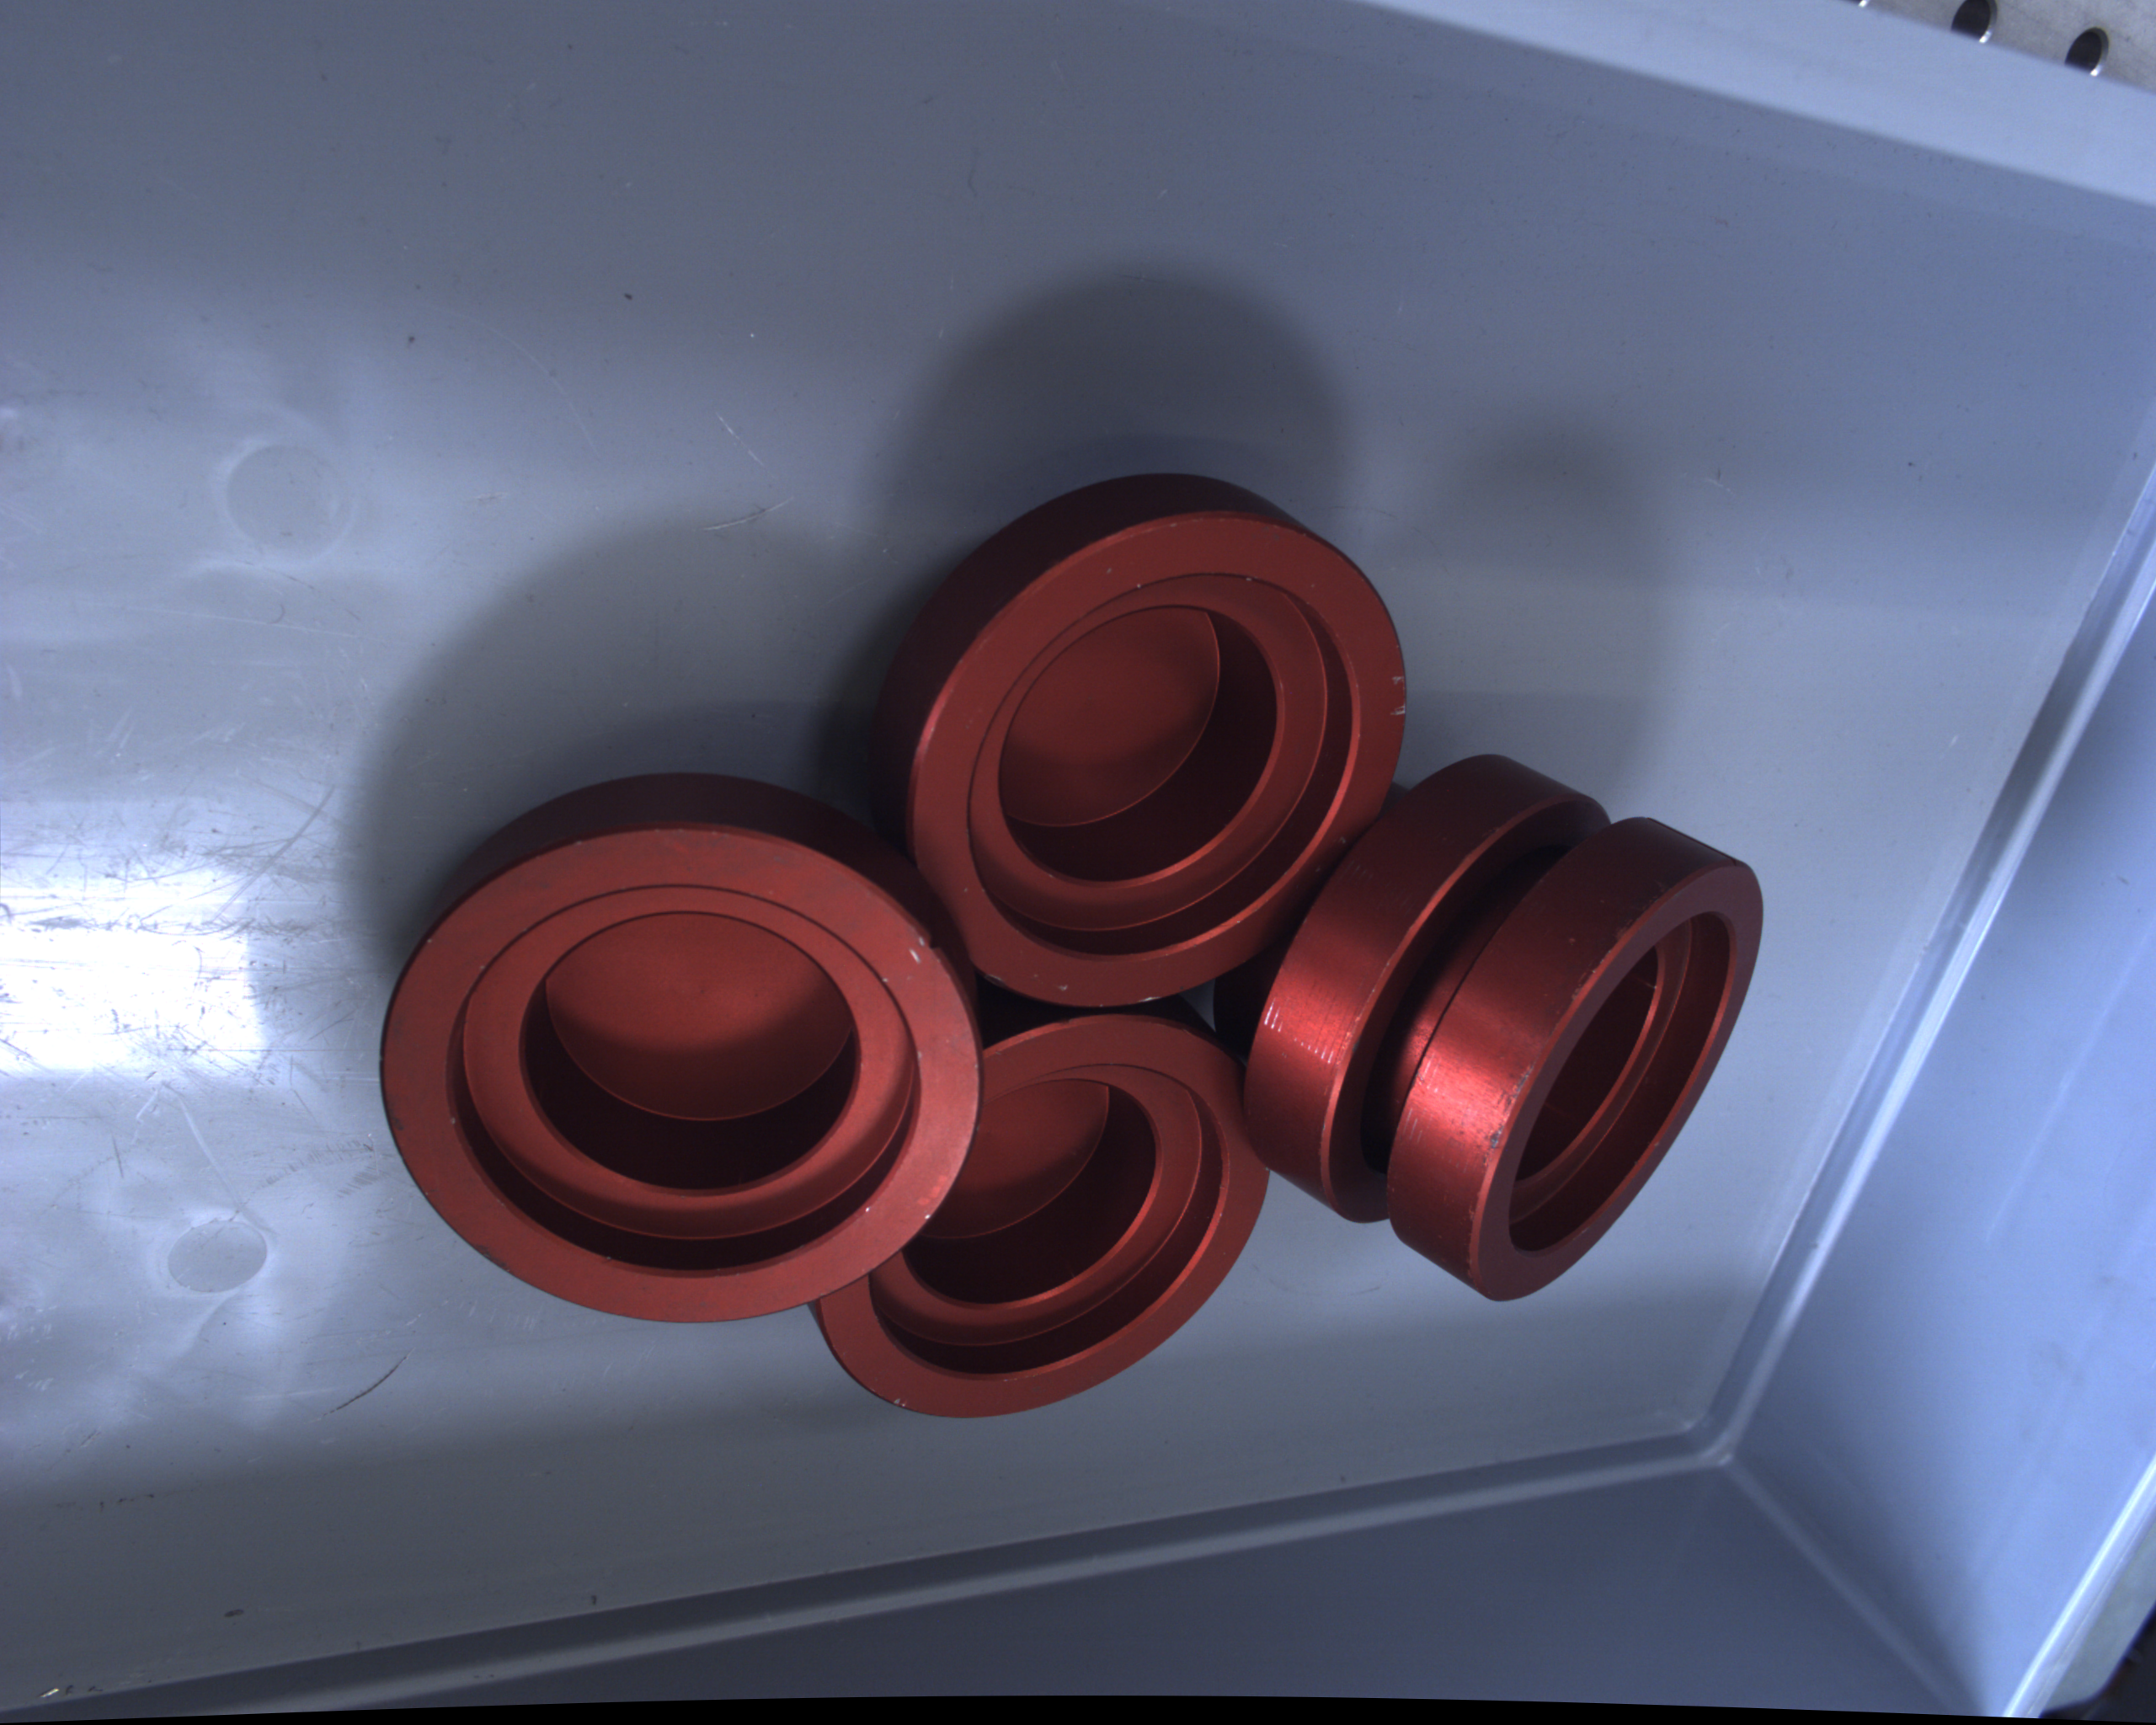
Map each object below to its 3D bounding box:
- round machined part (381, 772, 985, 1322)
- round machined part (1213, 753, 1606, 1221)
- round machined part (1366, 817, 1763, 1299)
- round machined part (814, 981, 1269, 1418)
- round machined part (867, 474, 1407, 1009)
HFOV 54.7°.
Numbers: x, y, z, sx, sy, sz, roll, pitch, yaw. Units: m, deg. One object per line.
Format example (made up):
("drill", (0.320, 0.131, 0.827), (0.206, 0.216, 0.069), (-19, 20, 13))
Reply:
("round machined part", (-0.066, 0.028, 0.364), (0.099, 0.042, 0.097), (-2, 116, -4))
("round machined part", (0.066, 0.021, 0.431), (0.099, 0.042, 0.097), (-33, 139, -34))
("round machined part", (0.091, 0.034, 0.416), (0.099, 0.042, 0.097), (-33, 140, -34))
("round machined part", (-0.013, 0.062, 0.426), (0.099, 0.042, 0.097), (-14, 124, -21))
("round machined part", (0.008, -0.025, 0.383), (0.099, 0.042, 0.097), (-14, 124, -21))
